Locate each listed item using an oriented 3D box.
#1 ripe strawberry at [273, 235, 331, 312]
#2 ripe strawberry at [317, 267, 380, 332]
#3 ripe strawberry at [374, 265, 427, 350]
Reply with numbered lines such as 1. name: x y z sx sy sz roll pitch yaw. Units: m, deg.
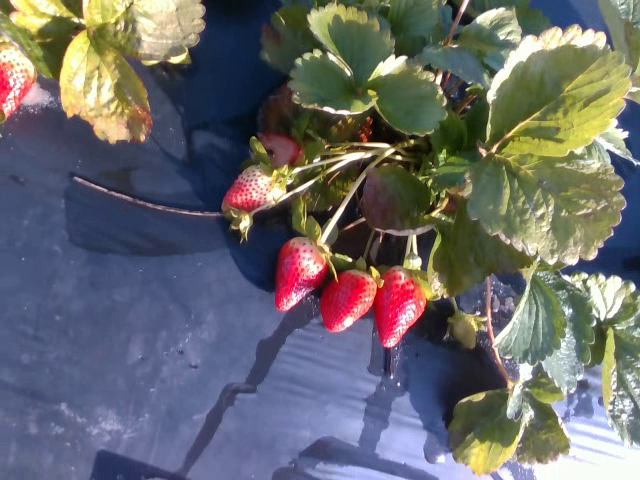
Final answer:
1. ripe strawberry: -0.012 0.020 0.318 0.031 0.046 0.023 24 6 -9
2. ripe strawberry: 0.014 0.033 0.316 0.030 0.039 0.036 34 -45 -12
3. ripe strawberry: 0.040 0.043 0.324 0.035 0.041 0.034 20 -29 -8
